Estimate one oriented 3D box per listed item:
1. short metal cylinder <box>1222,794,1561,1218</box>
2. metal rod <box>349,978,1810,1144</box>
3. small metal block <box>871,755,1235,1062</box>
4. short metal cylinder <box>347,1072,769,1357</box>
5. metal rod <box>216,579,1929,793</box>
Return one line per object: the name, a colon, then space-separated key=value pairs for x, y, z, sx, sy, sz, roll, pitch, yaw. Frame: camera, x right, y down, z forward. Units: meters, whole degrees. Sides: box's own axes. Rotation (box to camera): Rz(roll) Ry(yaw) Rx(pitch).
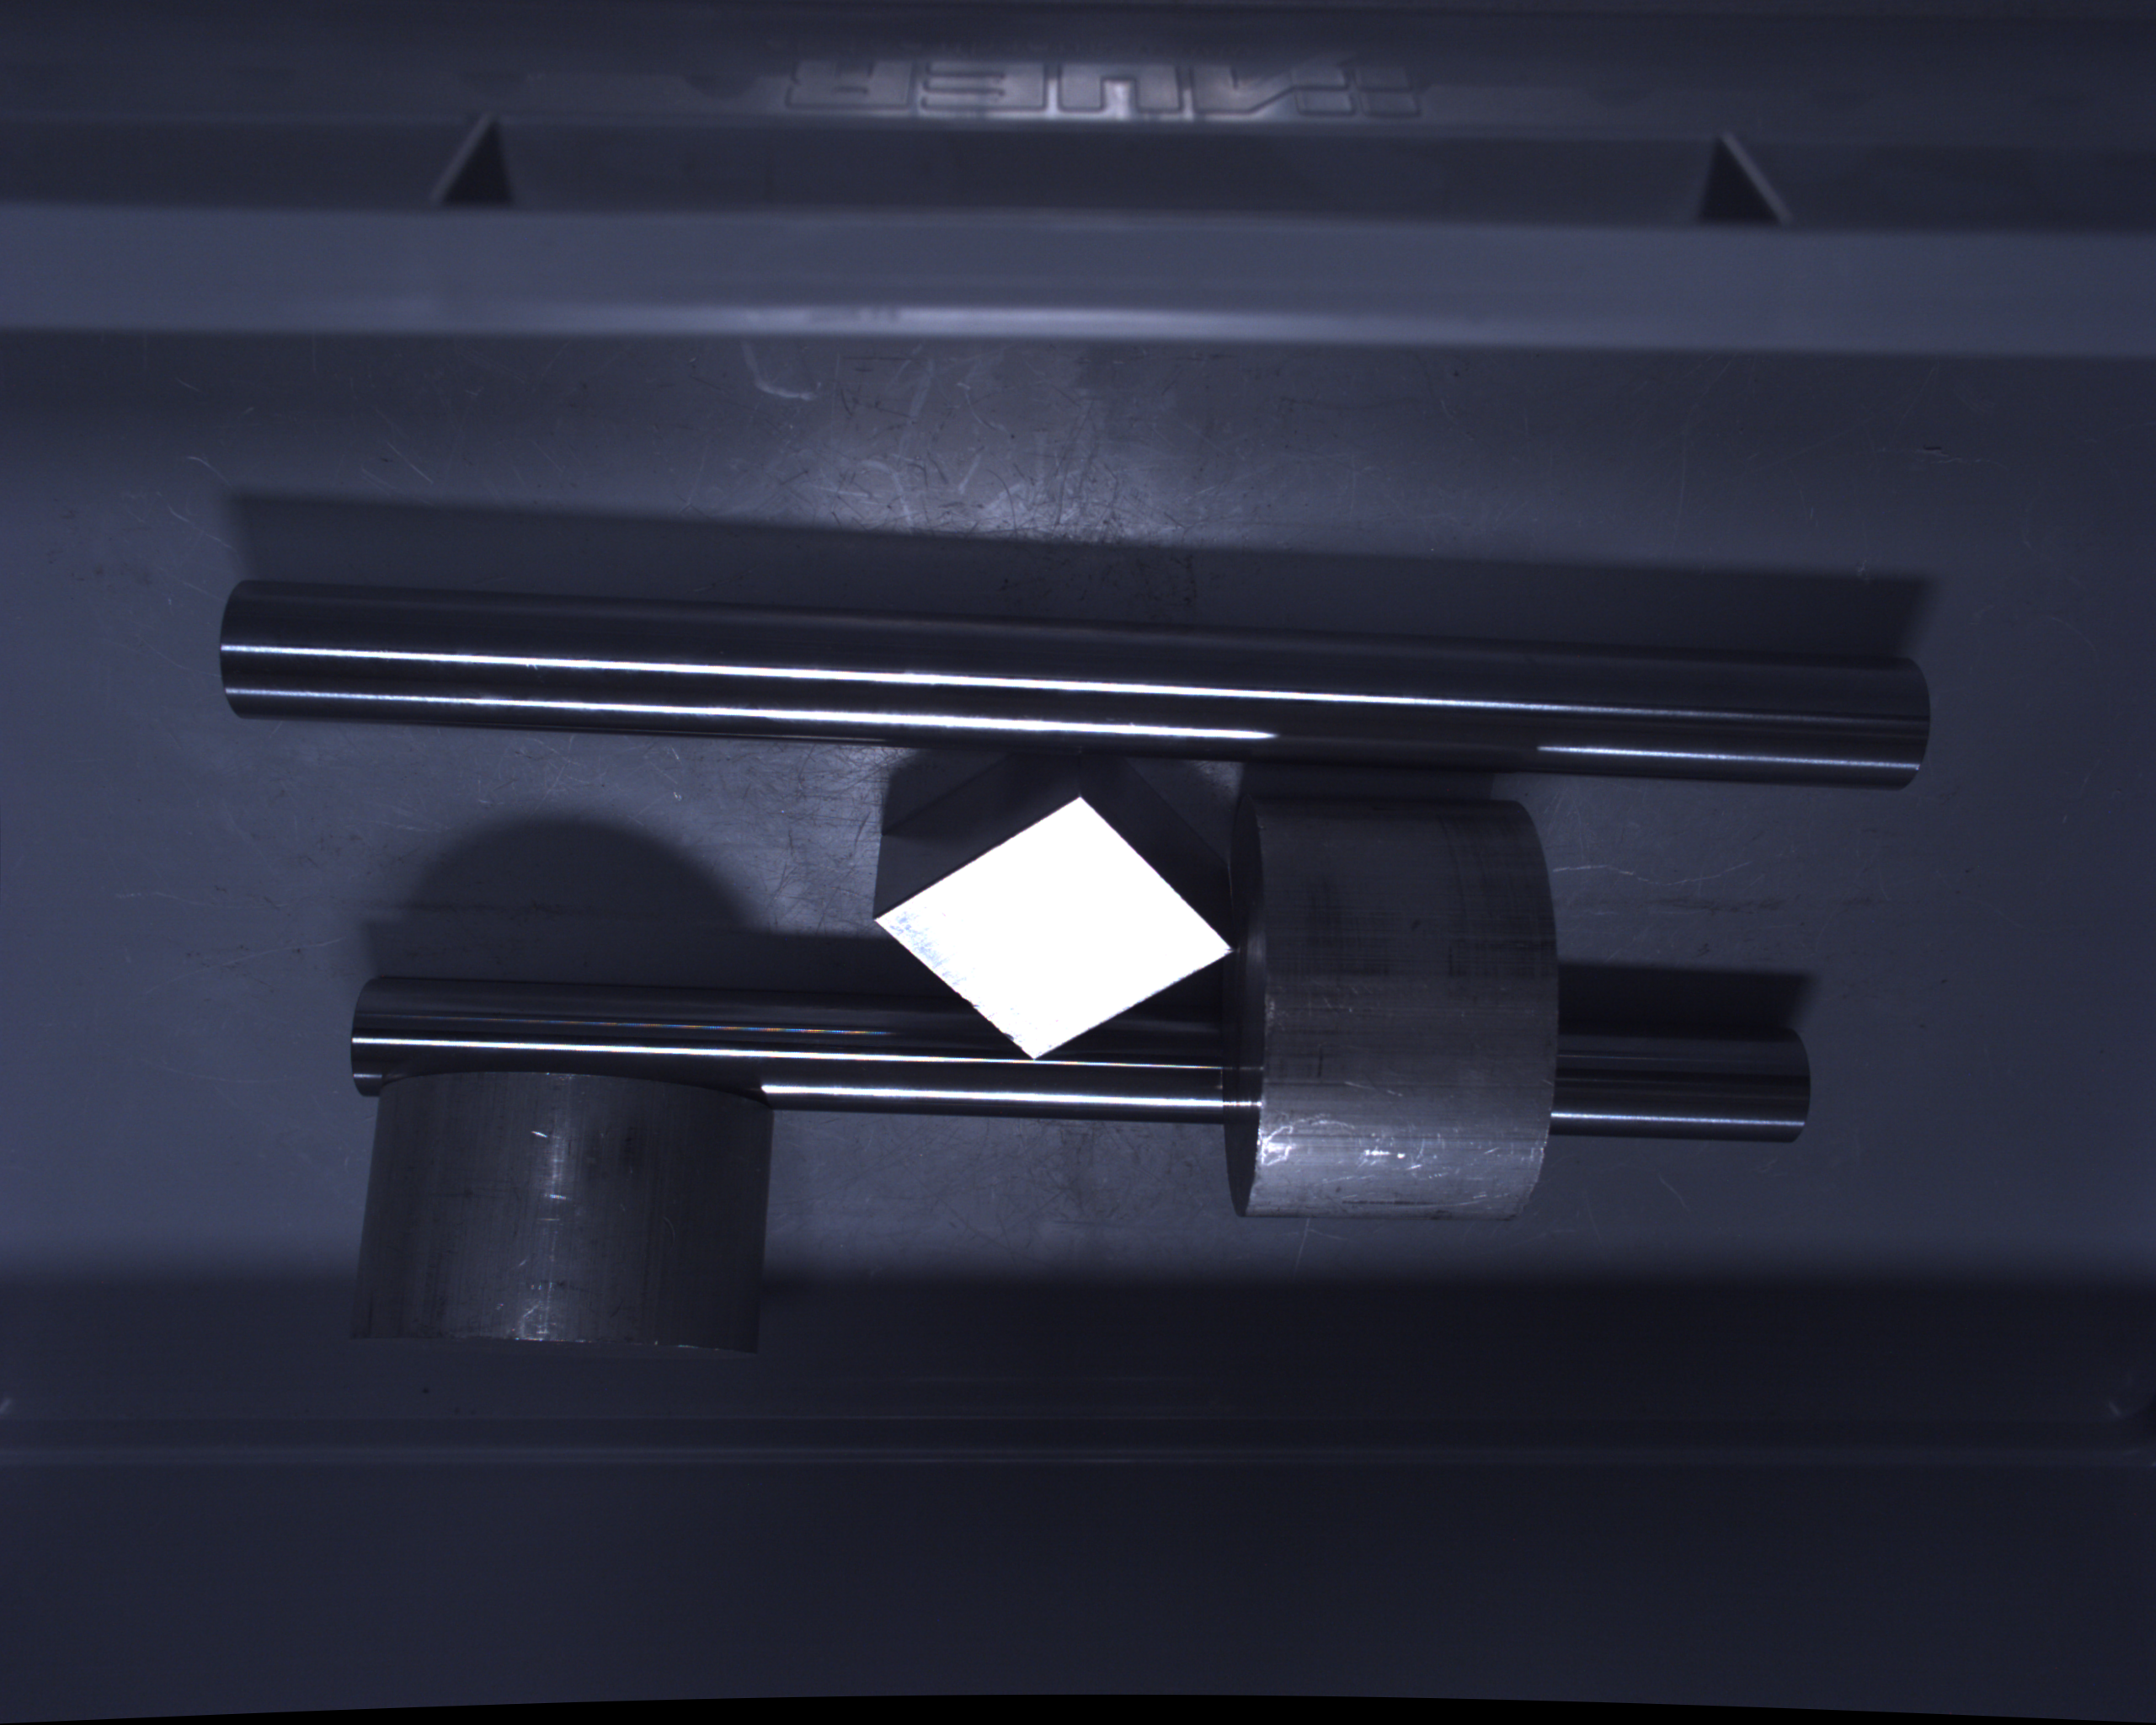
short metal cylinder: x=0.056 y=0.027 z=0.395 sx=0.050 sy=0.080 sz=0.079 roll=1 pitch=130 yaw=-2
metal rod: x=0.002 y=0.042 z=0.443 sx=0.302 sy=0.025 sz=0.025 roll=2 pitch=130 yaw=-3
small metal block: x=-0.004 y=0.006 z=0.412 sx=0.050 sy=0.025 sz=0.050 roll=-31 pitch=124 yaw=23
short metal cylinder: x=-0.105 y=0.075 z=0.430 sx=0.081 sy=0.050 sz=0.080 roll=1 pitch=164 yaw=1
metal rod: x=0.002 y=-0.032 z=0.379 sx=0.302 sy=0.025 sz=0.025 roll=2 pitch=130 yaw=-3
